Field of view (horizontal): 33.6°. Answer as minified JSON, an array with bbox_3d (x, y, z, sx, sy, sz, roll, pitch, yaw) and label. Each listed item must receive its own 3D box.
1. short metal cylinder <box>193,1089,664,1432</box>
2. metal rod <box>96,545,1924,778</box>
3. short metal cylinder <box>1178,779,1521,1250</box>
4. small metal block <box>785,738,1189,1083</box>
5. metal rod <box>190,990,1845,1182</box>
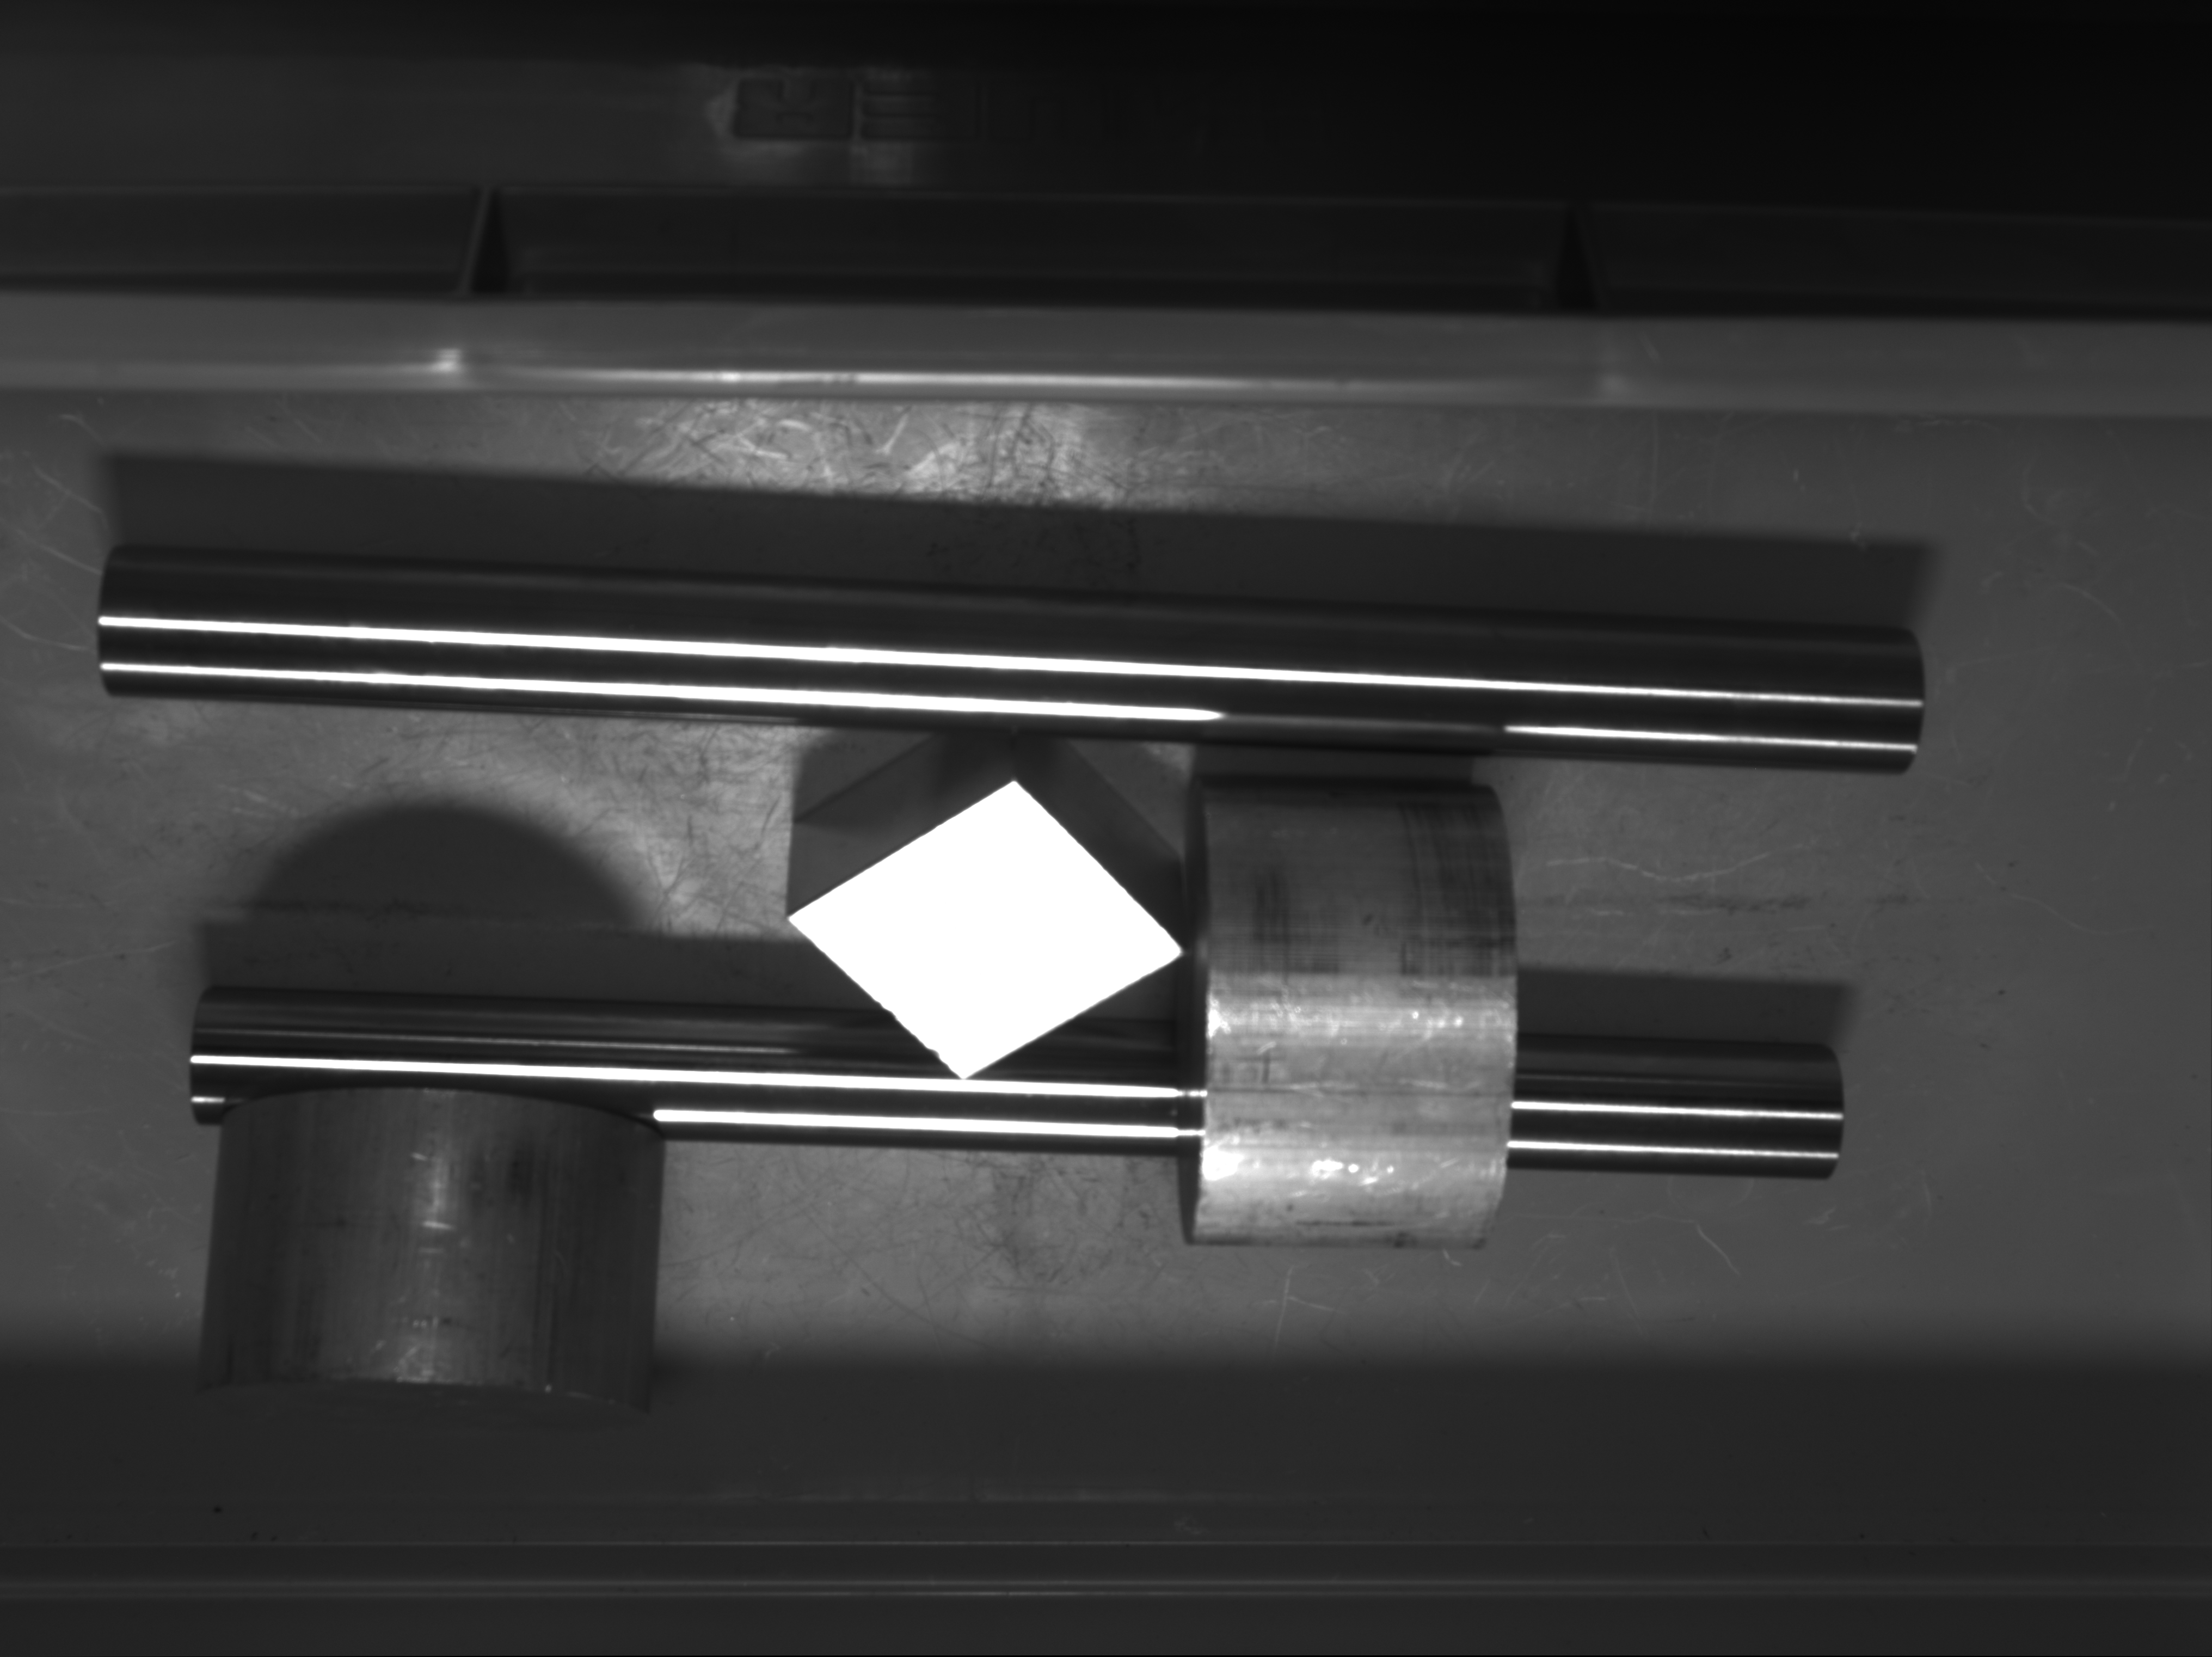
[{"bbox_3d":[-0.121,0.080,0.661,0.080,0.050,0.080,1,164,0],"label":"short metal cylinder"},{"bbox_3d":[-0.014,-0.028,0.613,0.300,0.025,0.025,3,130,-4],"label":"metal rod"},{"bbox_3d":[0.040,0.032,0.629,0.050,0.080,0.080,1,130,-3],"label":"short metal cylinder"},{"bbox_3d":[-0.021,0.011,0.645,0.050,0.025,0.050,-30,124,22],"label":"small metal block"},{"bbox_3d":[-0.015,0.048,0.676,0.300,0.025,0.025,2,130,-4],"label":"metal rod"}]
